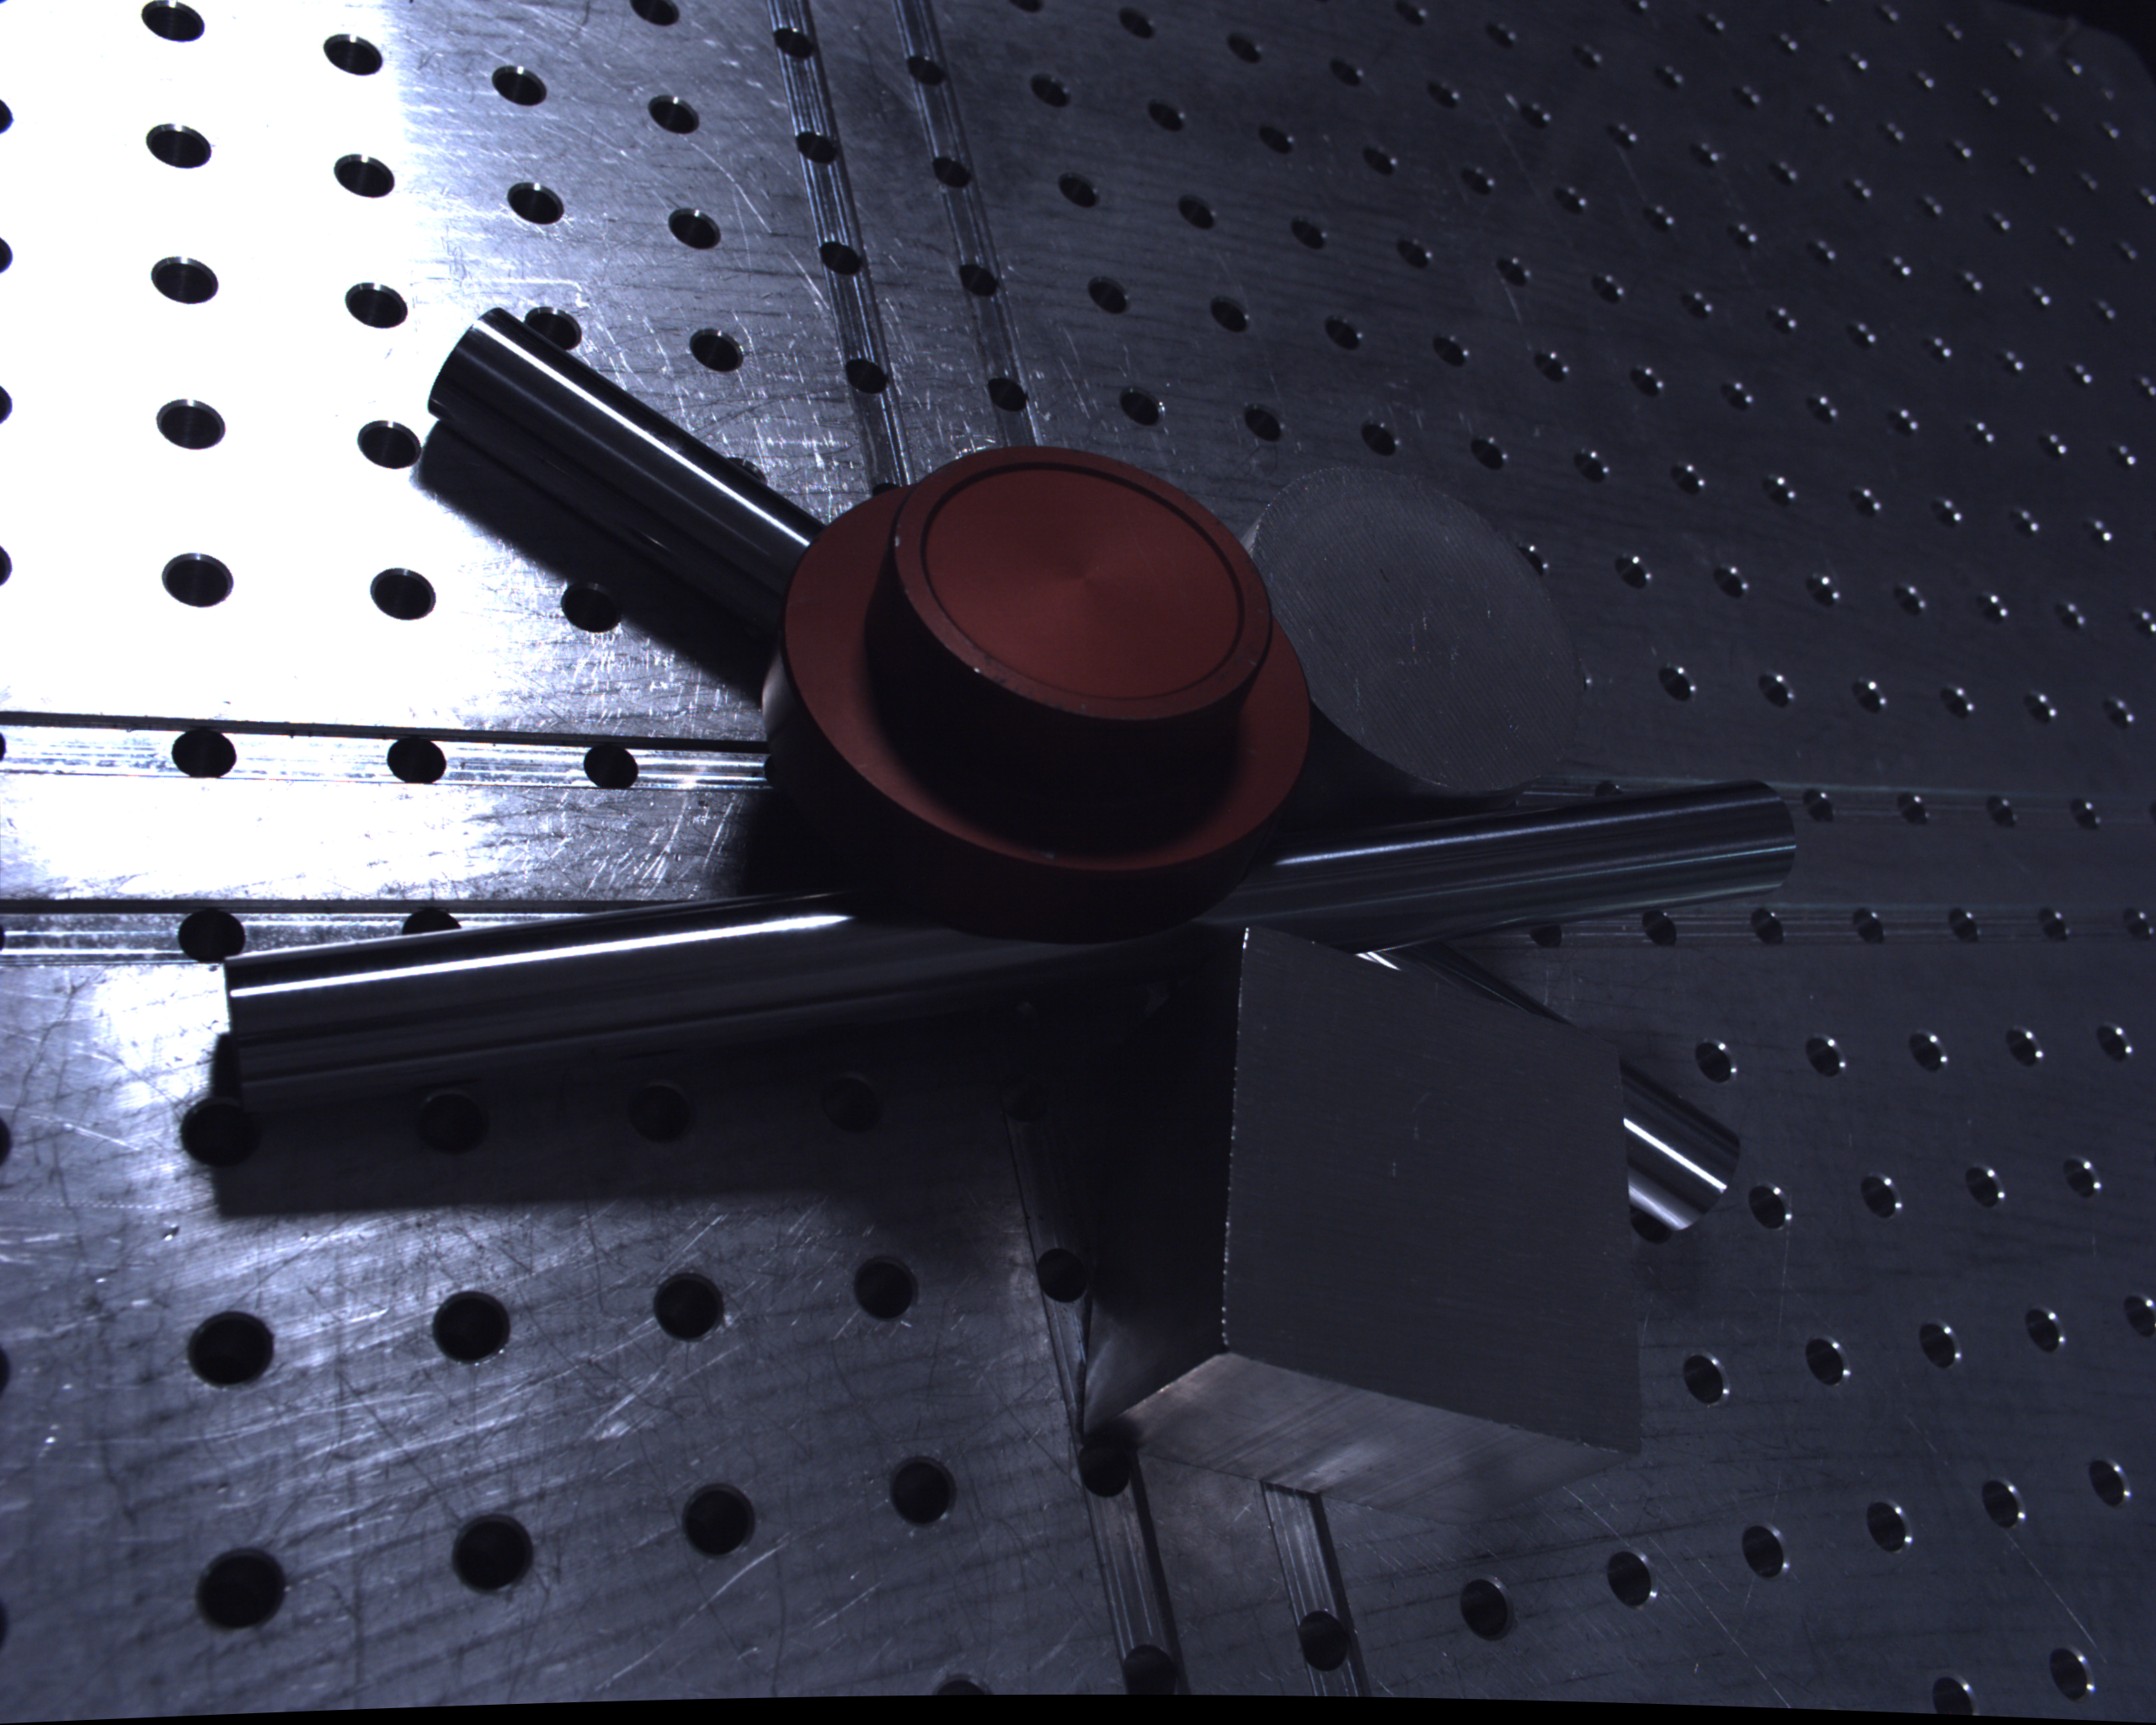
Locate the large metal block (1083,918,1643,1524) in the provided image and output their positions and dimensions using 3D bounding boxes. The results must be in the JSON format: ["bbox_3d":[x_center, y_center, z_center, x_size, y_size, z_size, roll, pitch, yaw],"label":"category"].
[{"bbox_3d":[0.051,0.066,0.378,0.081,0.050,0.080,19,54,-18],"label":"large metal block"}]

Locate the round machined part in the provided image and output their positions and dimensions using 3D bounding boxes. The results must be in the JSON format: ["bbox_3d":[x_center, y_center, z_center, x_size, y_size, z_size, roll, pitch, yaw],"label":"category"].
[{"bbox_3d":[-0.005,-0.036,0.375,0.099,0.042,0.098,11,50,-13],"label":"round machined part"}]

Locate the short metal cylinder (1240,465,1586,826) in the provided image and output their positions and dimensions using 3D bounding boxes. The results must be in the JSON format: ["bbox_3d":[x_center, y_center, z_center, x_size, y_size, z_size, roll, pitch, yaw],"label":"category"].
[{"bbox_3d":[0.061,-0.038,0.449,0.081,0.050,0.080,14,56,-21],"label":"short metal cylinder"}]

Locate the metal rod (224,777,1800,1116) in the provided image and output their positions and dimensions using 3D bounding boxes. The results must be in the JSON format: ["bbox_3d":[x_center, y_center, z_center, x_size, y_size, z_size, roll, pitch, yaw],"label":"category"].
[{"bbox_3d":[0.007,0.011,0.383,0.303,0.025,0.025,-7,65,-24],"label":"metal rod"}]

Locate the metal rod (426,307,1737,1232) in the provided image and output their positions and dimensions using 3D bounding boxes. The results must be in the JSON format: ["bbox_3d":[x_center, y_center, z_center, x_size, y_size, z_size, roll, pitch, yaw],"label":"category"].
[{"bbox_3d":[0.006,-0.015,0.422,0.301,0.025,0.025,33,51,-7],"label":"metal rod"}]
